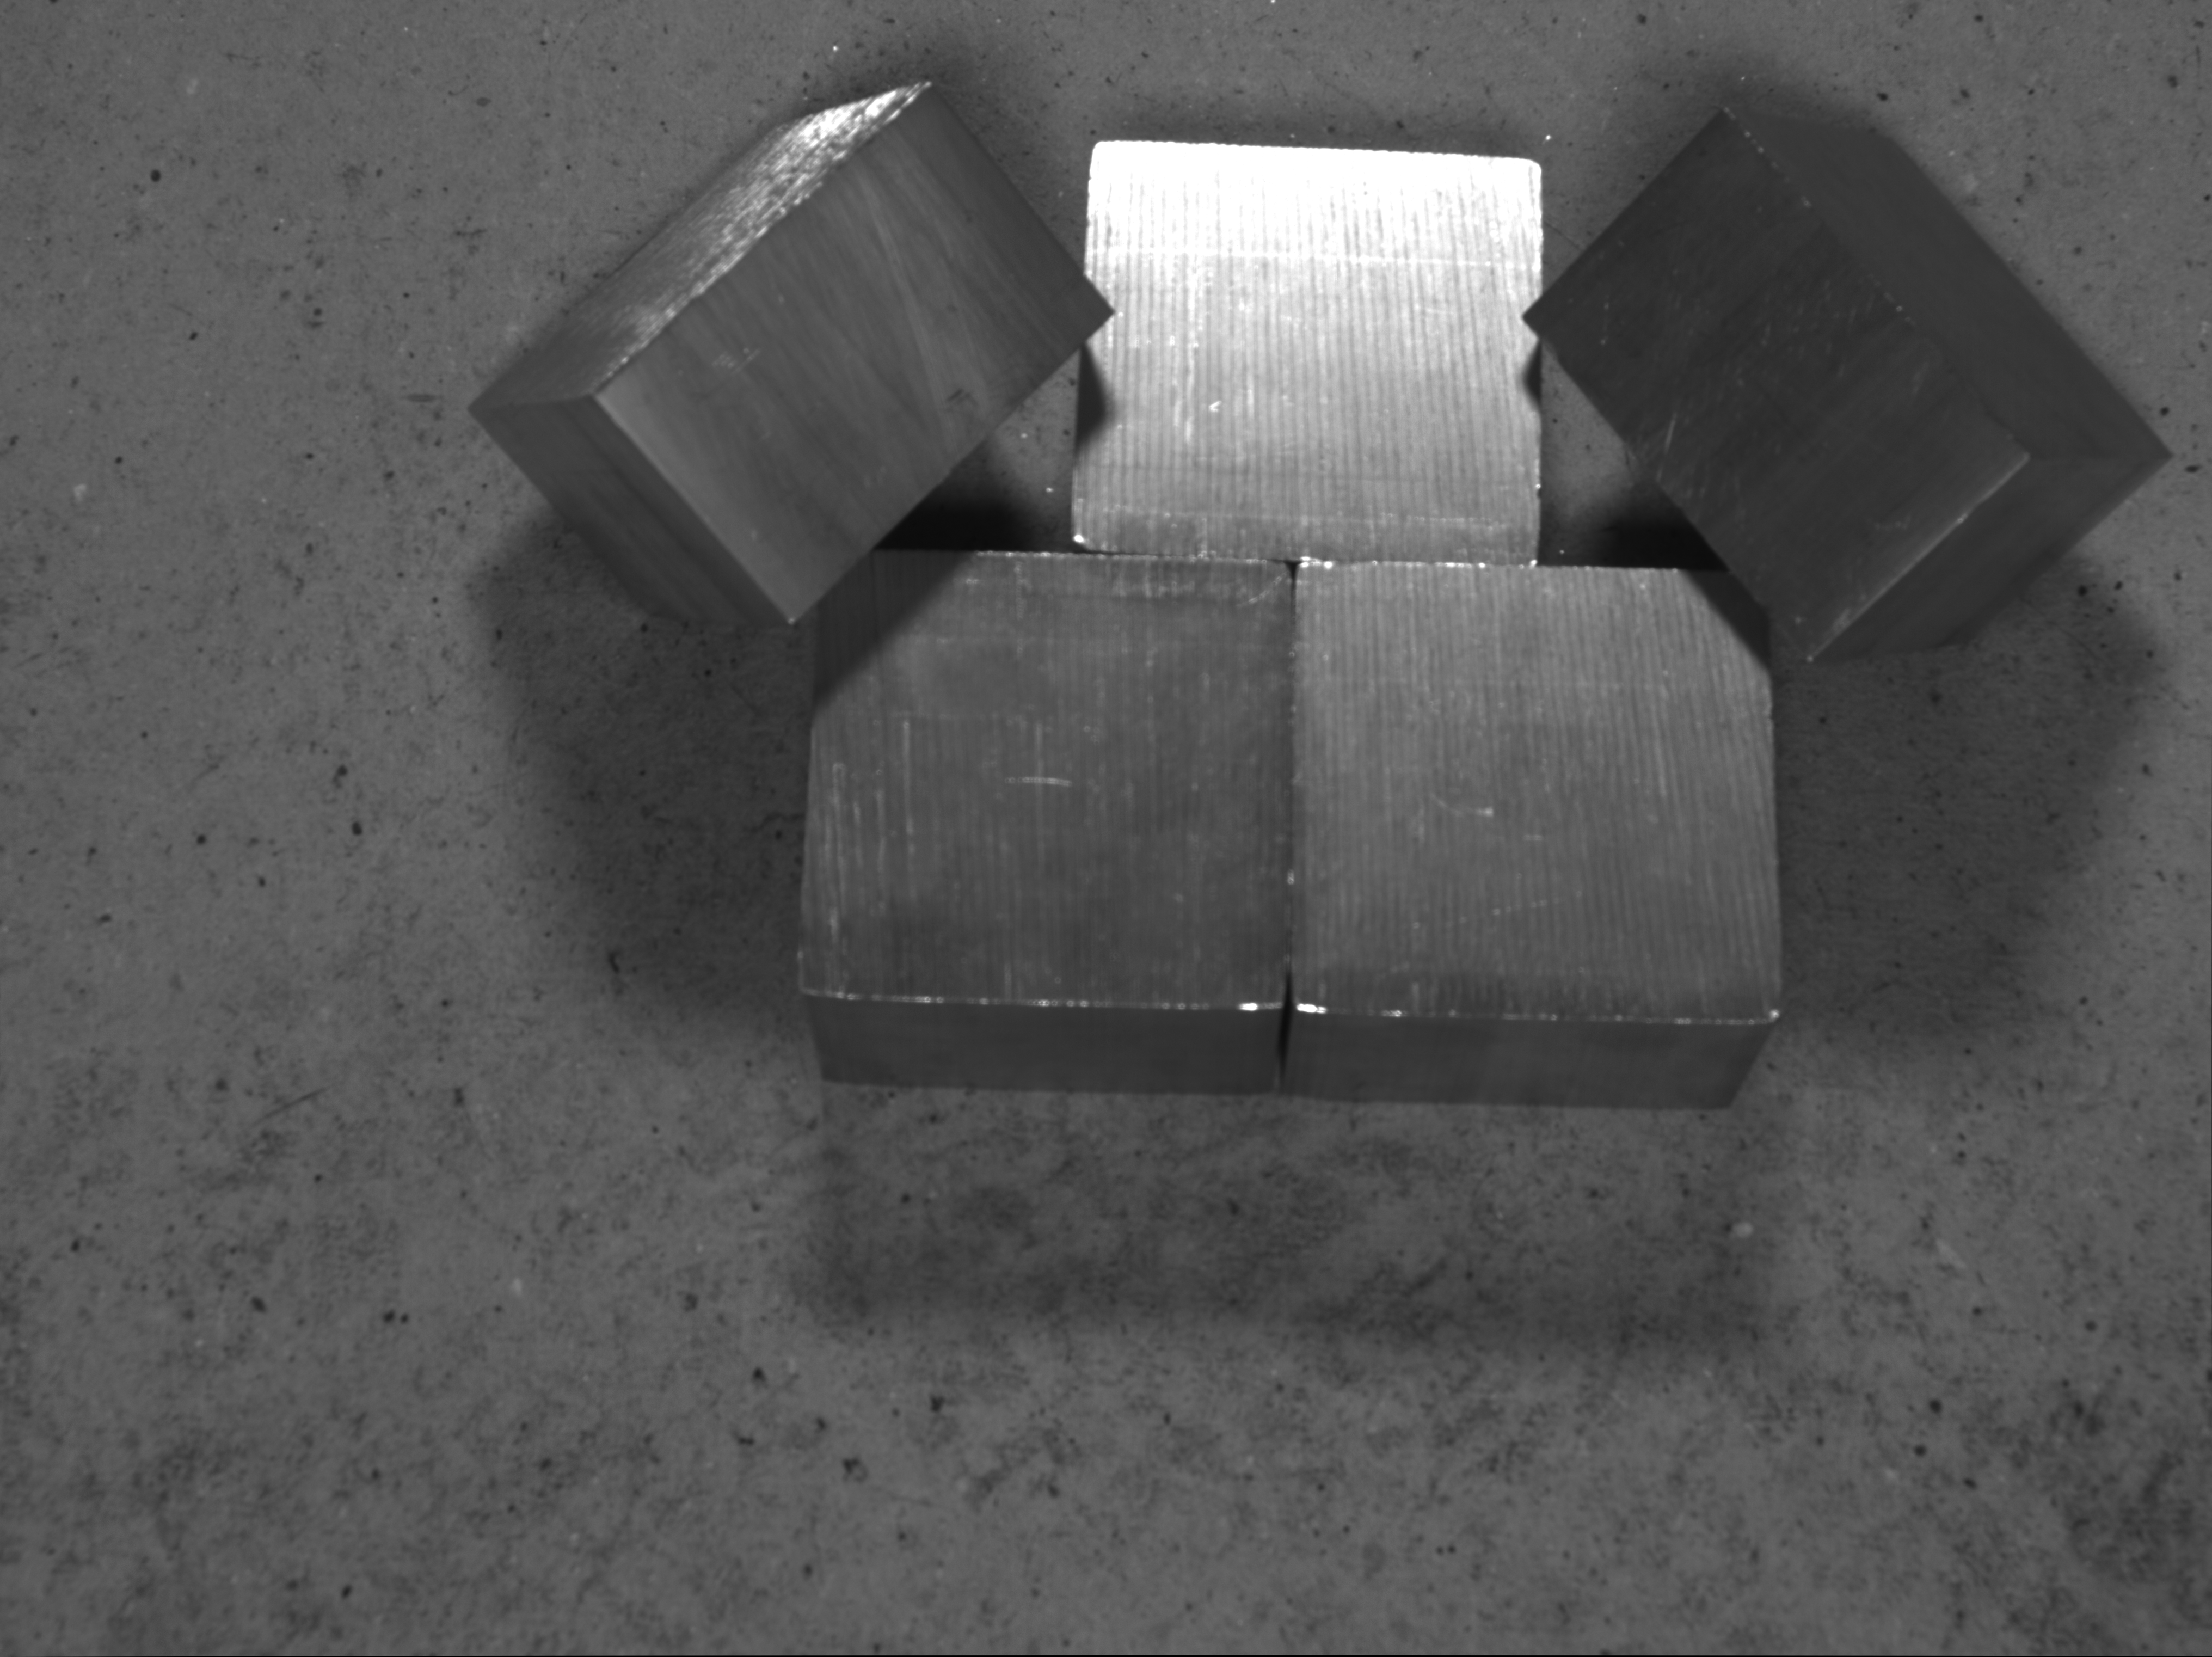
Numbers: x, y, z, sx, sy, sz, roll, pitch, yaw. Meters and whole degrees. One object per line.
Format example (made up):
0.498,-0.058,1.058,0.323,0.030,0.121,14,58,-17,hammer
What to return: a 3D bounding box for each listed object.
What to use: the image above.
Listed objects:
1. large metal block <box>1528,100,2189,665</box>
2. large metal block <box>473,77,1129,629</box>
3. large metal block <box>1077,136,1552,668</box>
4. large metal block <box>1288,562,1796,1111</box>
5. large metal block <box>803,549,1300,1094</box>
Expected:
0.132,-0.077,0.638,0.050,0.080,0.080,-46,71,27,large metal block
-0.055,-0.081,0.638,0.080,0.080,0.050,-45,110,-15,large metal block
0.037,-0.075,0.660,0.080,0.050,0.080,3,70,1,large metal block
0.073,0.002,0.629,0.080,0.050,0.080,1,70,1,large metal block
-0.008,-0.001,0.631,0.080,0.050,0.080,1,70,1,large metal block
